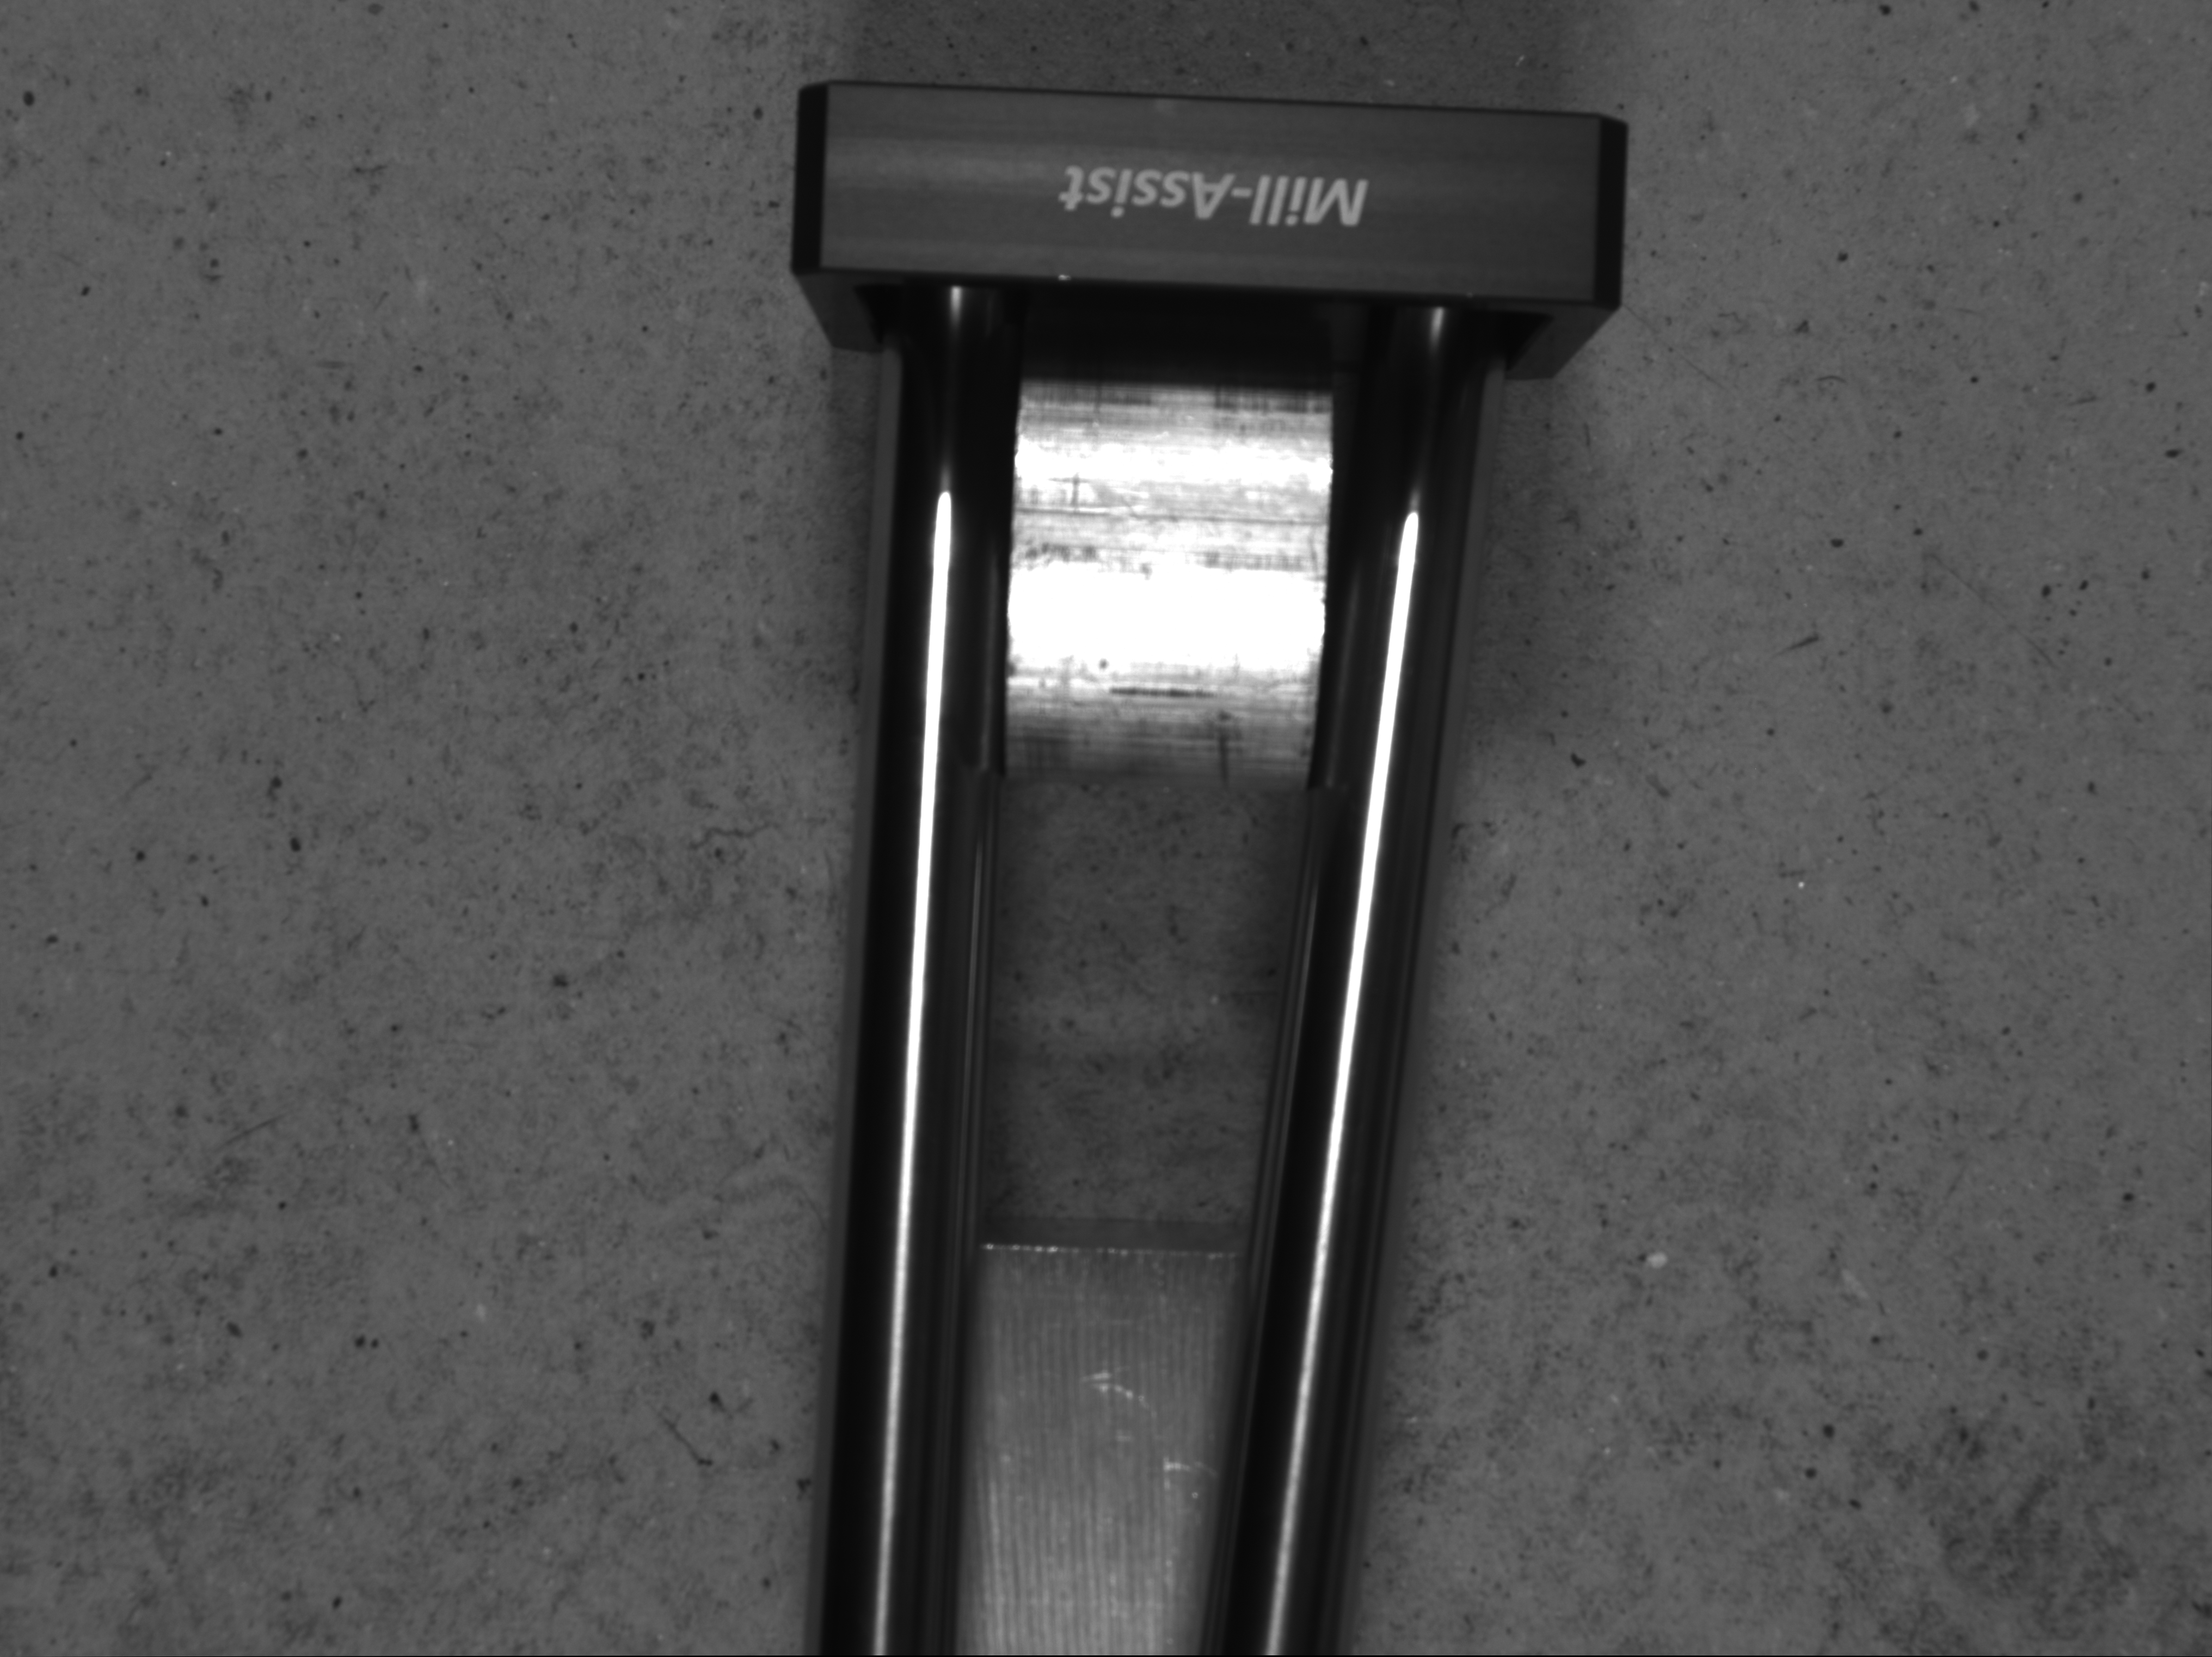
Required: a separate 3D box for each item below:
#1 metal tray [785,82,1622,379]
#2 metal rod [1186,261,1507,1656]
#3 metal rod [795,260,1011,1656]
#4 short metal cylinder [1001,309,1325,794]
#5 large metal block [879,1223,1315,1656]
[{"bbox_3d":[0.015,-0.098,0.613,0.130,0.090,0.030,2,90,0],"label":"metal tray"},{"bbox_3d":[0.037,0.050,0.599,0.025,0.025,0.300,8,75,0],"label":"metal rod"},{"bbox_3d":[-0.034,0.046,0.599,0.025,0.025,0.300,2,75,0],"label":"metal rod"},{"bbox_3d":[0.009,-0.047,0.618,0.050,0.080,0.080,2,90,-1],"label":"short metal cylinder"},{"bbox_3d":[0.001,0.110,0.631,0.080,0.050,0.080,2,90,0],"label":"large metal block"}]
